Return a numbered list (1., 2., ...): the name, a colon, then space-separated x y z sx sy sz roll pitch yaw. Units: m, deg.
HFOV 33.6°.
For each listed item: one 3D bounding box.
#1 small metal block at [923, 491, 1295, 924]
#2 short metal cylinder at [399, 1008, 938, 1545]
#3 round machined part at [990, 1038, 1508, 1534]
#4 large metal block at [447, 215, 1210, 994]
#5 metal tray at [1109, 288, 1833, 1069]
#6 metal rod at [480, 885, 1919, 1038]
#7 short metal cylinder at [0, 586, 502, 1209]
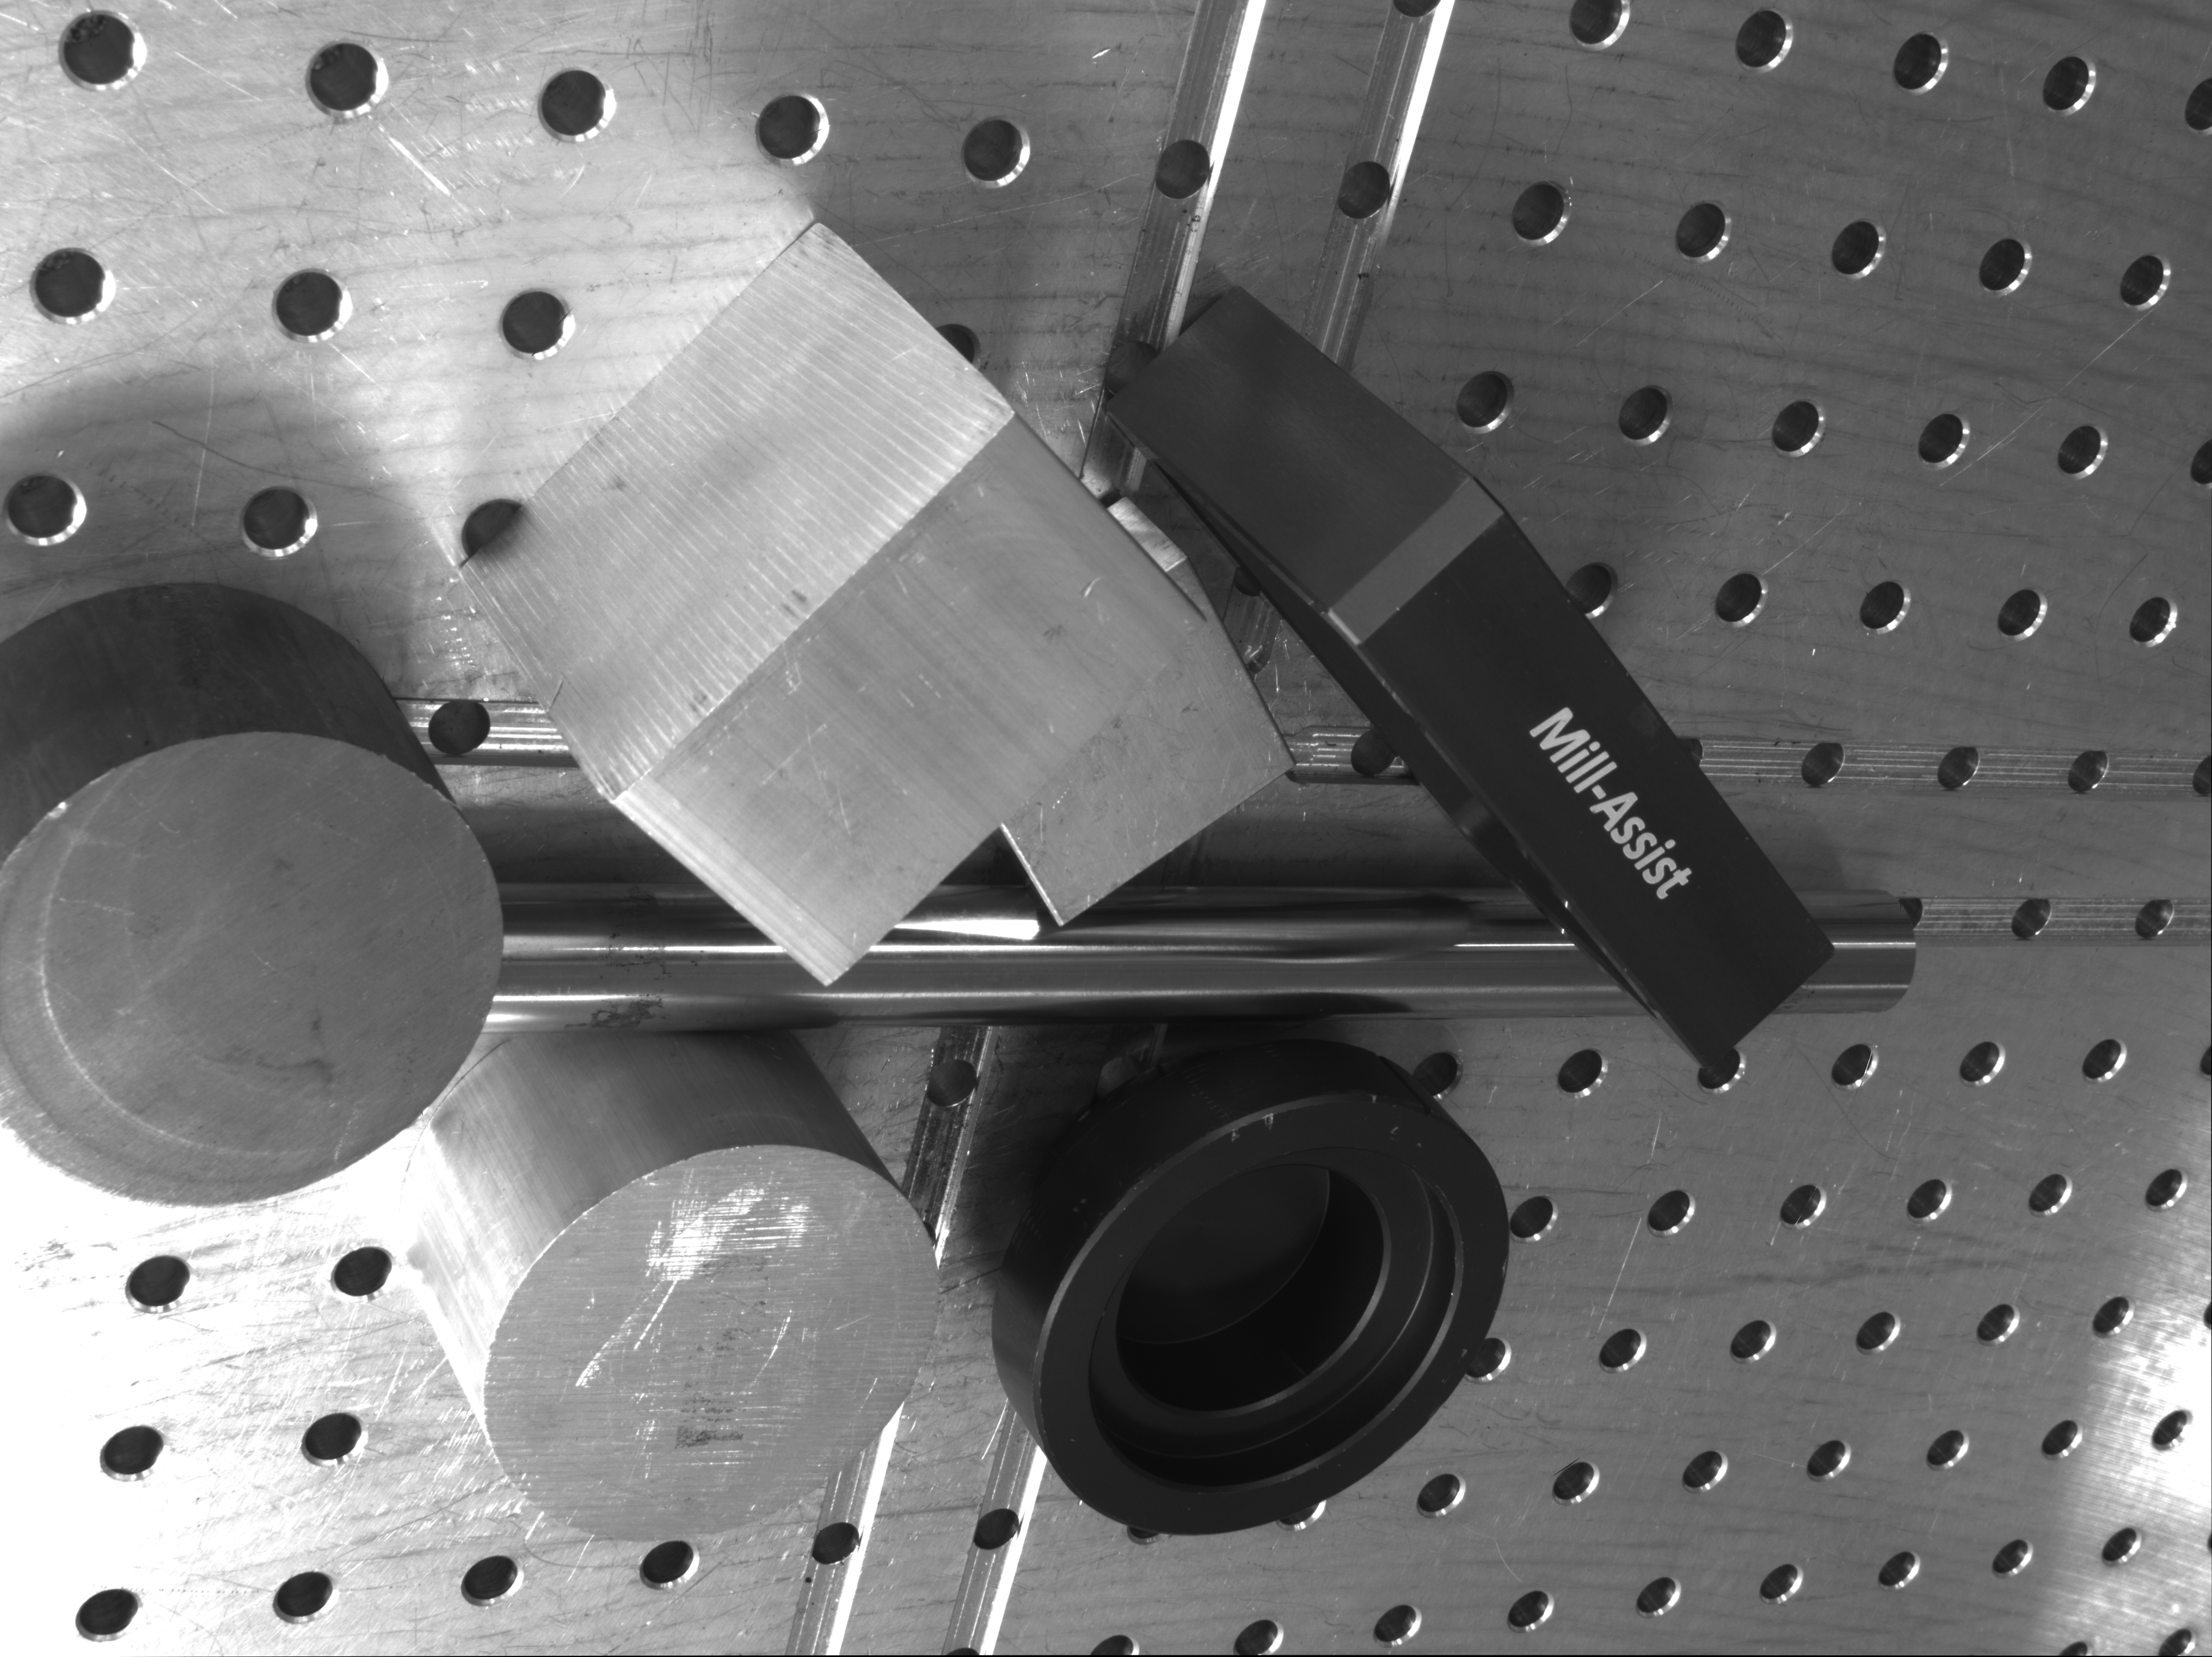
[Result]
1. small metal block: -0.003 -0.020 0.627 0.050 0.025 0.050 -34 129 -6
2. short metal cylinder: -0.075 0.075 0.628 0.080 0.050 0.080 -14 124 -21
3. round machined part: 0.023 0.081 0.691 0.098 0.042 0.098 -14 124 -21
4. large metal block: -0.044 -0.036 0.560 0.080 0.080 0.050 -44 130 2
5. metal tray: 0.062 -0.024 0.617 0.030 0.090 0.130 -42 129 1
6. metal rod: 0.023 0.023 0.667 0.301 0.025 0.025 1 118 -29
7. short metal cylinder: -0.138 0.010 0.556 0.080 0.050 0.080 -14 124 -21
